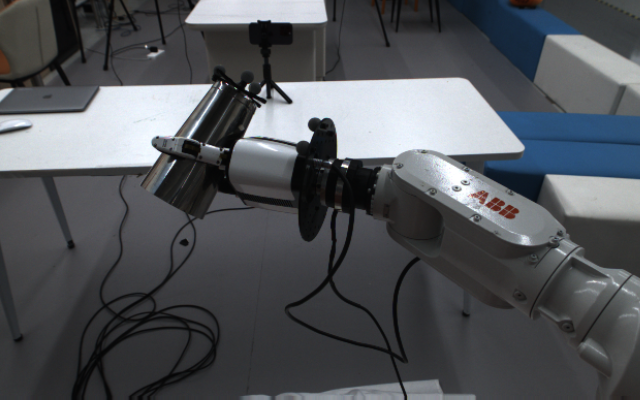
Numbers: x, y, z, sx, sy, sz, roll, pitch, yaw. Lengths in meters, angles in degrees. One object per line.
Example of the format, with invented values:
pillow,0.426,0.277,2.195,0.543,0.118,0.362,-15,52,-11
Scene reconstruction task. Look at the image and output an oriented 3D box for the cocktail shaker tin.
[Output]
cocktail shaker tin,-0.156,-0.074,0.650,0.093,0.093,0.170,26,83,31
